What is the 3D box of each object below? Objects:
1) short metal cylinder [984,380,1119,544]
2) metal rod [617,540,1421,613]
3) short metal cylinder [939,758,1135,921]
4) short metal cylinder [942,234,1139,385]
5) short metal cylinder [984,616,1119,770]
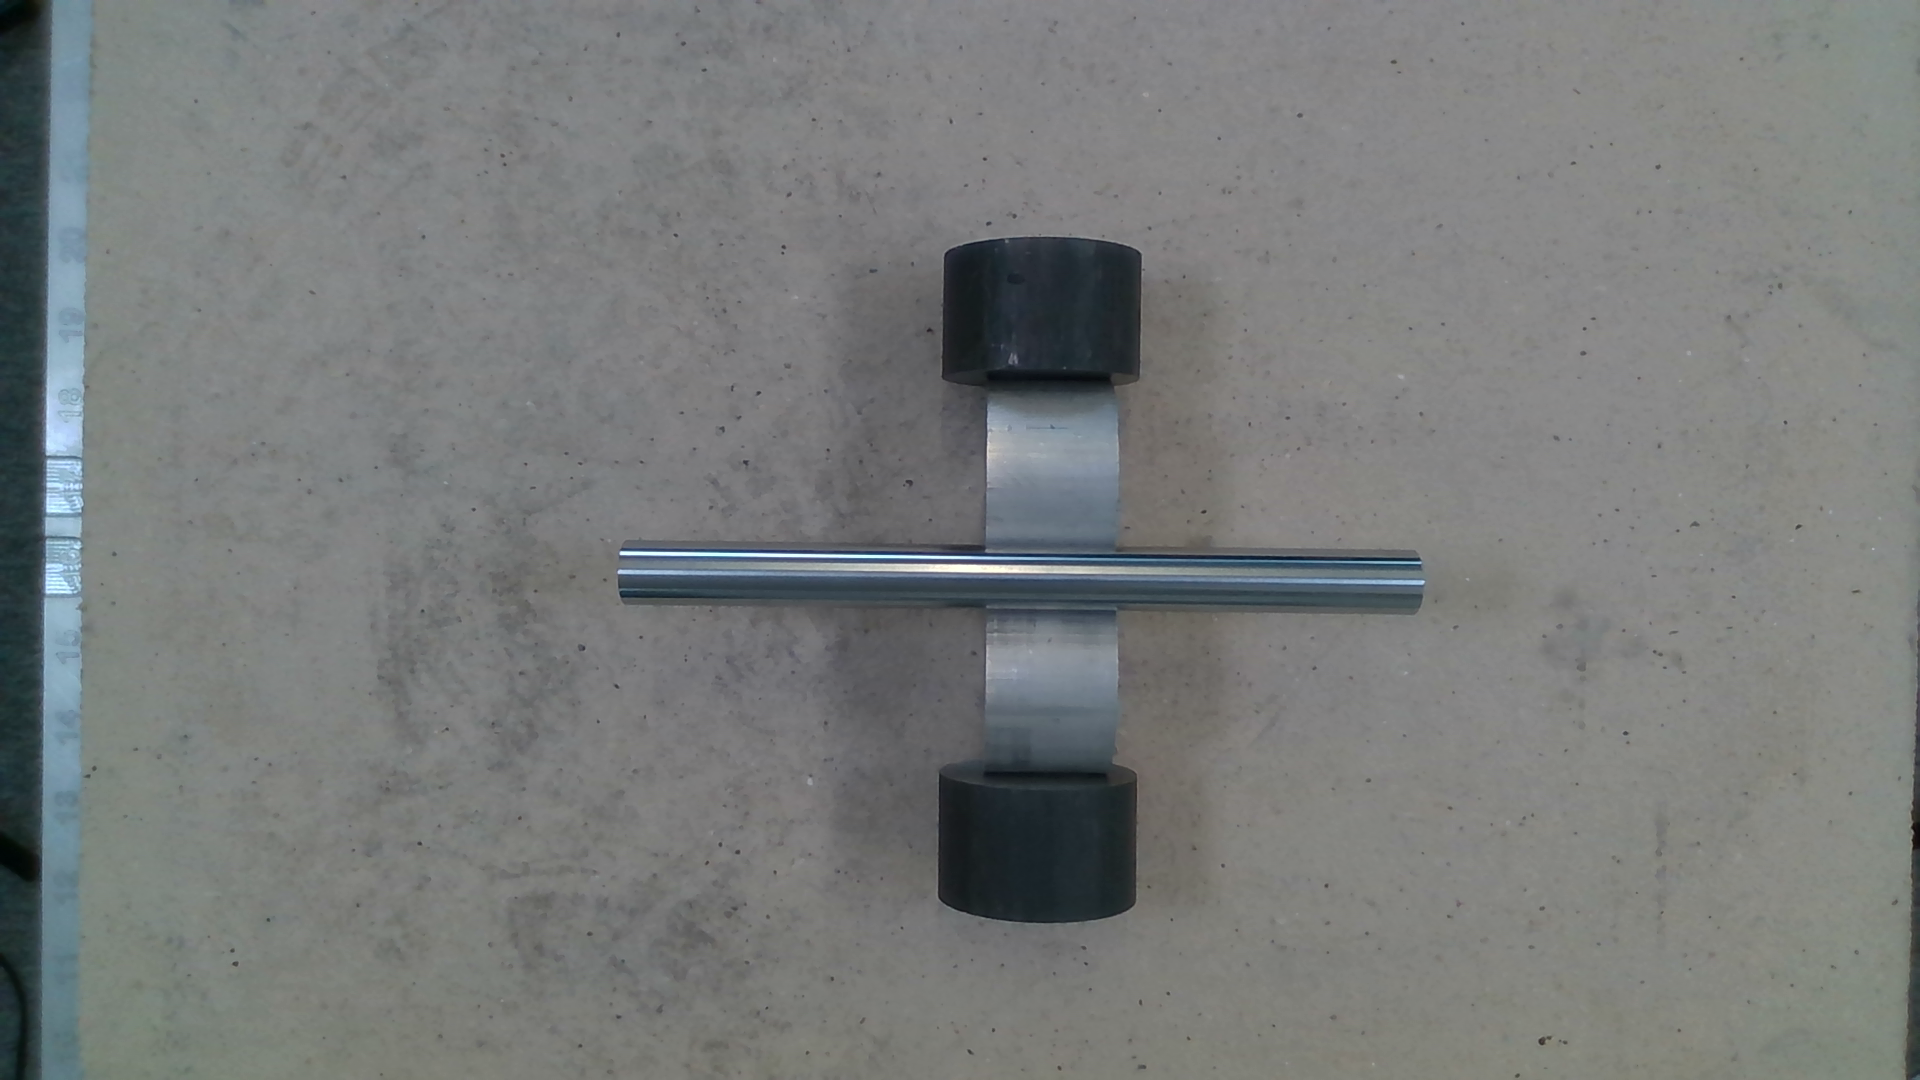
[{"bbox_3d":[0.035,-0.026,0.560,0.050,0.080,0.080,1,90,0],"label":"short metal cylinder"},{"bbox_3d":[0.022,0.014,0.526,0.300,0.025,0.025,1,90,0],"label":"metal rod"},{"bbox_3d":[0.031,0.119,0.561,0.080,0.080,0.050,1,90,0],"label":"short metal cylinder"},{"bbox_3d":[0.033,-0.090,0.559,0.080,0.080,0.050,1,90,0],"label":"short metal cylinder"},{"bbox_3d":[0.035,0.054,0.560,0.050,0.080,0.080,1,90,0],"label":"short metal cylinder"}]
